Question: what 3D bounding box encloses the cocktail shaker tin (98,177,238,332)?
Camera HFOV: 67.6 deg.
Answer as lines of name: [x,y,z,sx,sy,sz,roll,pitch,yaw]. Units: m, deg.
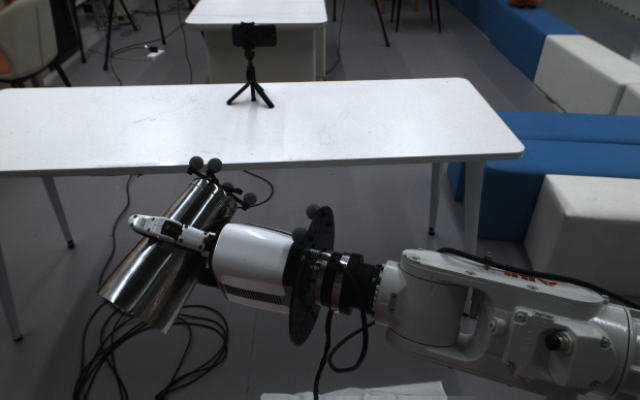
cocktail shaker tin: [-0.170,0.057,0.572,0.093,0.093,0.170,20,66,24]
